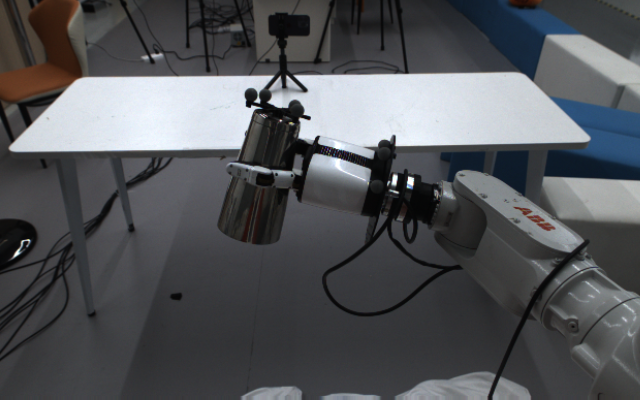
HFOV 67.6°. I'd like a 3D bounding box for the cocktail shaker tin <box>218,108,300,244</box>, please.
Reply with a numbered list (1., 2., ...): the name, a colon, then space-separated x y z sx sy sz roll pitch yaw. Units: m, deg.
1. cocktail shaker tin: -0.080 -0.035 0.672 0.093 0.170 0.093 15 17 -5
